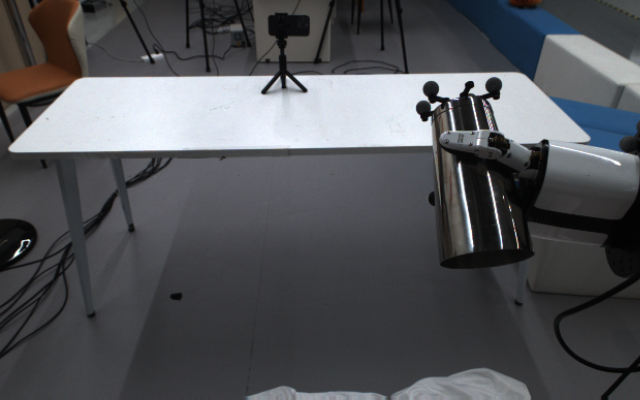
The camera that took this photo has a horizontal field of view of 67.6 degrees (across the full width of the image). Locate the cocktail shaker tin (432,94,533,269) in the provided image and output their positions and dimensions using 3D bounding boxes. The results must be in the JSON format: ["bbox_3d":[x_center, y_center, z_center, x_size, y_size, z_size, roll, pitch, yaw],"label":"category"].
[{"bbox_3d":[0.164,-0.019,0.515,0.093,0.093,0.170,-2,71,-6],"label":"cocktail shaker tin"}]
